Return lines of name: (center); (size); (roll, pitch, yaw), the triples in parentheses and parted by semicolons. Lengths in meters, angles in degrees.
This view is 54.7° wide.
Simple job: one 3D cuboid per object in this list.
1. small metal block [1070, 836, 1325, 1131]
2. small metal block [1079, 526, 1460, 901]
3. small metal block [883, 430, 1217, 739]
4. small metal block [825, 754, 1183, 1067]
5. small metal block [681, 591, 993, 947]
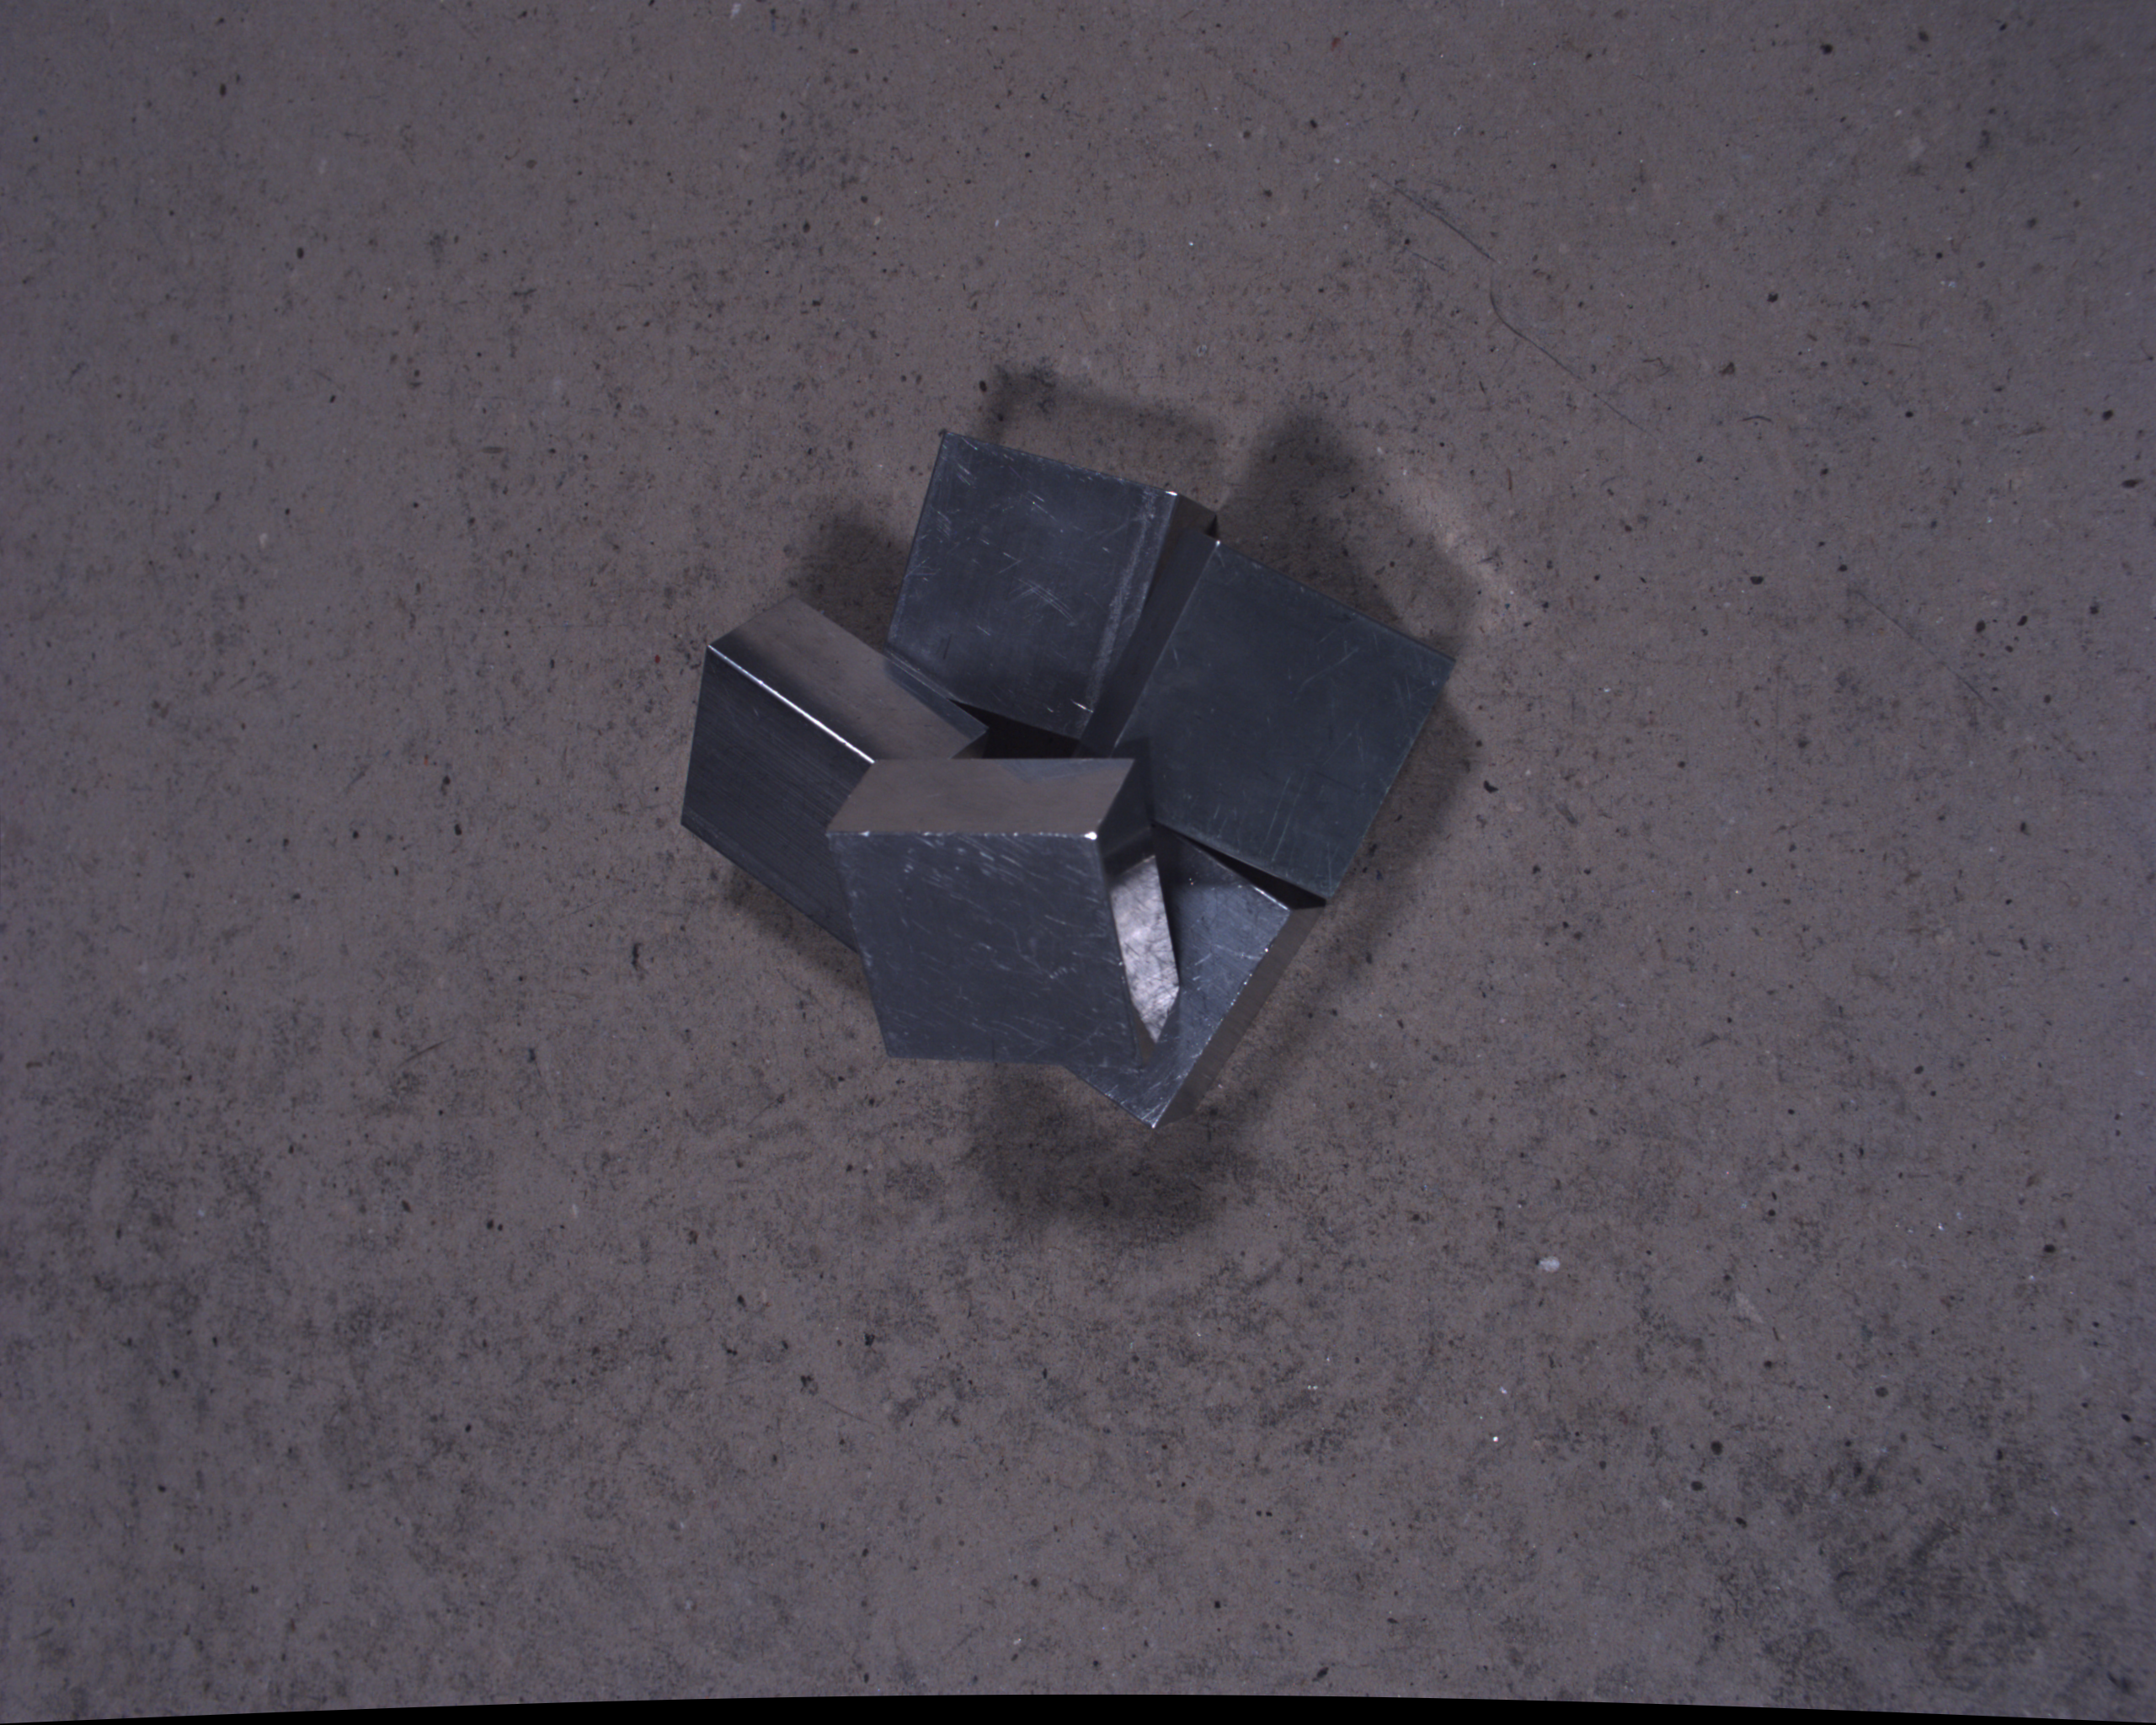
small metal block: (0.011, 0.016, 0.406); (0.050, 0.025, 0.050); (34, 101, 16)
small metal block: (0.034, -0.028, 0.386); (0.050, 0.025, 0.050); (24, 99, -16)
small metal block: (-0.006, -0.053, 0.412); (0.050, 0.025, 0.050); (18, 96, 18)
small metal block: (-0.012, 0.008, 0.375); (0.050, 0.025, 0.050); (0, 123, 19)
small metal block: (-0.049, -0.017, 0.414); (0.050, 0.025, 0.050); (35, 137, 15)
